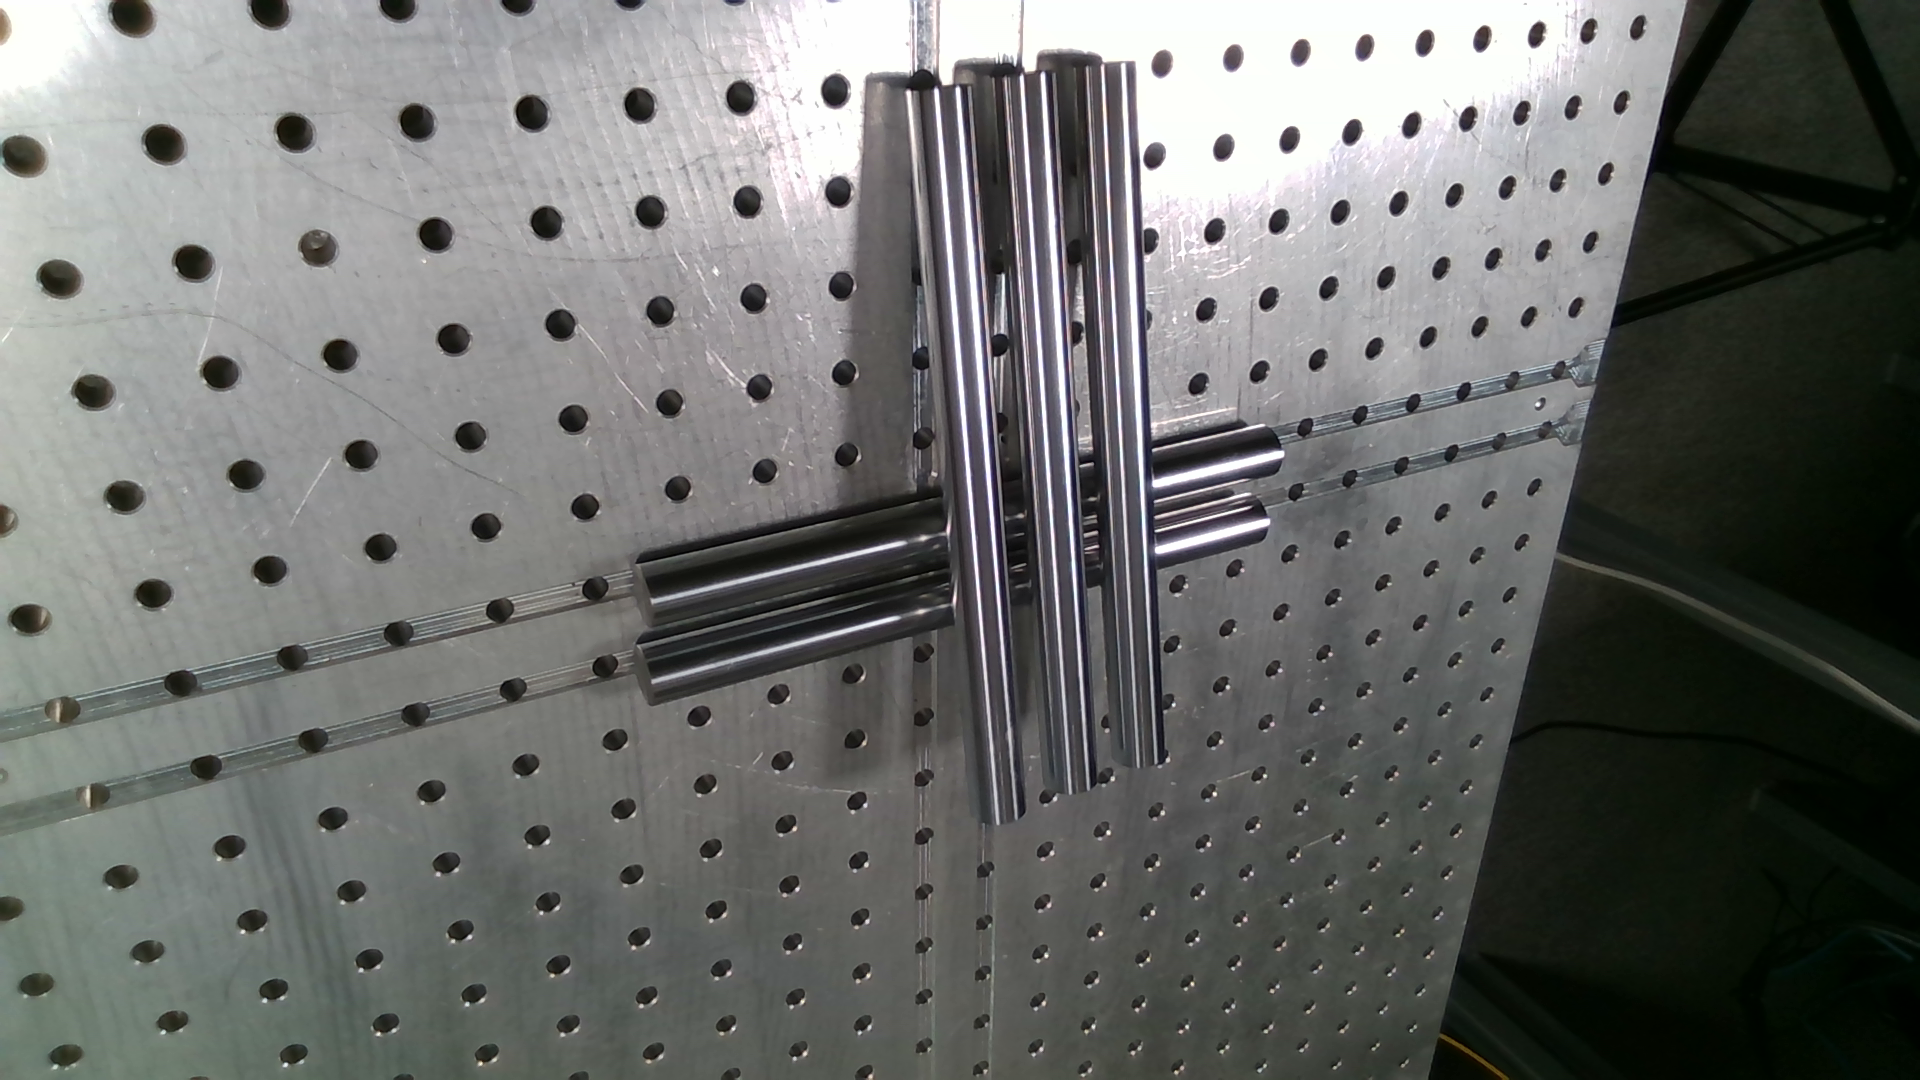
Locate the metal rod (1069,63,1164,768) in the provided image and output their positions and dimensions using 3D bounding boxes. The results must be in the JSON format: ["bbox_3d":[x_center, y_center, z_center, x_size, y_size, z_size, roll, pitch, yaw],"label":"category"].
[{"bbox_3d":[0.068,-0.041,0.577,0.025,0.025,0.301,-16,114,-24],"label":"metal rod"}]

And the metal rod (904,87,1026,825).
[{"bbox_3d":[0.004,-0.022,0.548,0.025,0.025,0.301,-15,113,-24],"label":"metal rod"}]

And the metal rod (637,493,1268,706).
[{"bbox_3d":[0.009,0.021,0.601,0.300,0.025,0.025,-14,121,-25],"label":"metal rod"}]

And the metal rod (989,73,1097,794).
[{"bbox_3d":[0.036,-0.032,0.562,0.025,0.025,0.301,-16,114,-24],"label":"metal rod"}]

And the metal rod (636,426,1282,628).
[{"bbox_3d":[0.012,-0.011,0.585,0.300,0.025,0.025,-14,121,-25],"label":"metal rod"}]
